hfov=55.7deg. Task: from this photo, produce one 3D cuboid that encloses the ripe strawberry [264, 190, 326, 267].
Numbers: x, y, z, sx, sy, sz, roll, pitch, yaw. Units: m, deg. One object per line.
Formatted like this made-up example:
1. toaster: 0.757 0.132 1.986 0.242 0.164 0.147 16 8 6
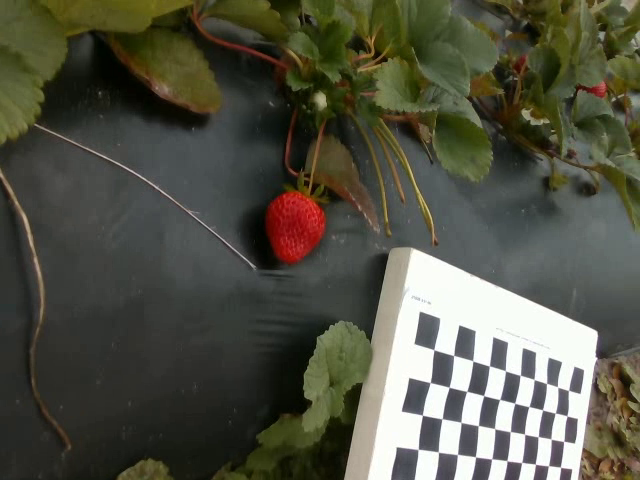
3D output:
1. ripe strawberry: -0.010 -0.004 0.237 0.028 0.033 0.022 37 -26 -29
